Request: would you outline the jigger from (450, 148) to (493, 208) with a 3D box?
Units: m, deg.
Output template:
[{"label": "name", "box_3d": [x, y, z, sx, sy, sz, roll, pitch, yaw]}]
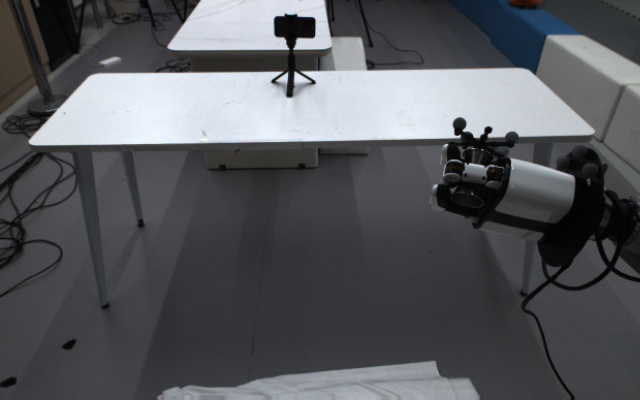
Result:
[{"label": "jigger", "box_3d": [0.204, -0.030, 0.643, 0.043, 0.043, 0.071, 13, 72, 15]}]
